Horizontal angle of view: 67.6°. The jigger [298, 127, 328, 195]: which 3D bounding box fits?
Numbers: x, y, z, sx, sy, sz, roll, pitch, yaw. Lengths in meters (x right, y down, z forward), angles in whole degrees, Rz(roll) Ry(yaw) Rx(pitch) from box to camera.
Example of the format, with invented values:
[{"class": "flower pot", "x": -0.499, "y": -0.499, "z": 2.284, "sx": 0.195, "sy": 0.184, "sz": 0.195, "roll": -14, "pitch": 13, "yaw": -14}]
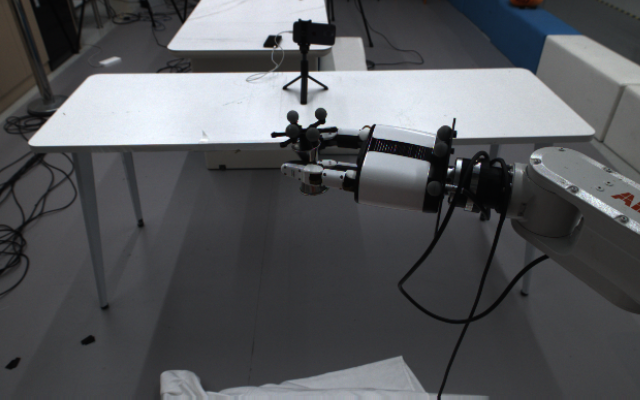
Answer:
[{"class": "jigger", "x": -0.011, "y": -0.048, "z": 0.668, "sx": 0.043, "sy": 0.071, "sz": 0.043, "roll": -9, "pitch": 31, "yaw": 5}]
